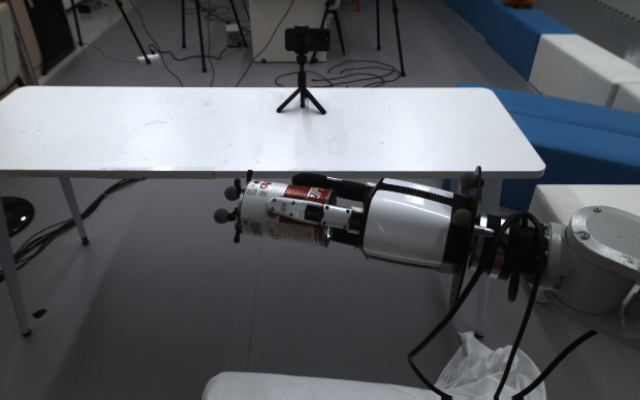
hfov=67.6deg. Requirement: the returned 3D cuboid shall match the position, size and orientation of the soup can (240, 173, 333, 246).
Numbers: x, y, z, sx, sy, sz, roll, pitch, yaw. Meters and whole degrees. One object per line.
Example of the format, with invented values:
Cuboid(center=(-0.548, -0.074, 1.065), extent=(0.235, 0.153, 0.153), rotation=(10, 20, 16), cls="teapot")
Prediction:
Cuboid(center=(-0.034, 0.014, 0.565), extent=(0.101, 0.067, 0.067), rotation=(7, 35, 11), cls="soup can")
